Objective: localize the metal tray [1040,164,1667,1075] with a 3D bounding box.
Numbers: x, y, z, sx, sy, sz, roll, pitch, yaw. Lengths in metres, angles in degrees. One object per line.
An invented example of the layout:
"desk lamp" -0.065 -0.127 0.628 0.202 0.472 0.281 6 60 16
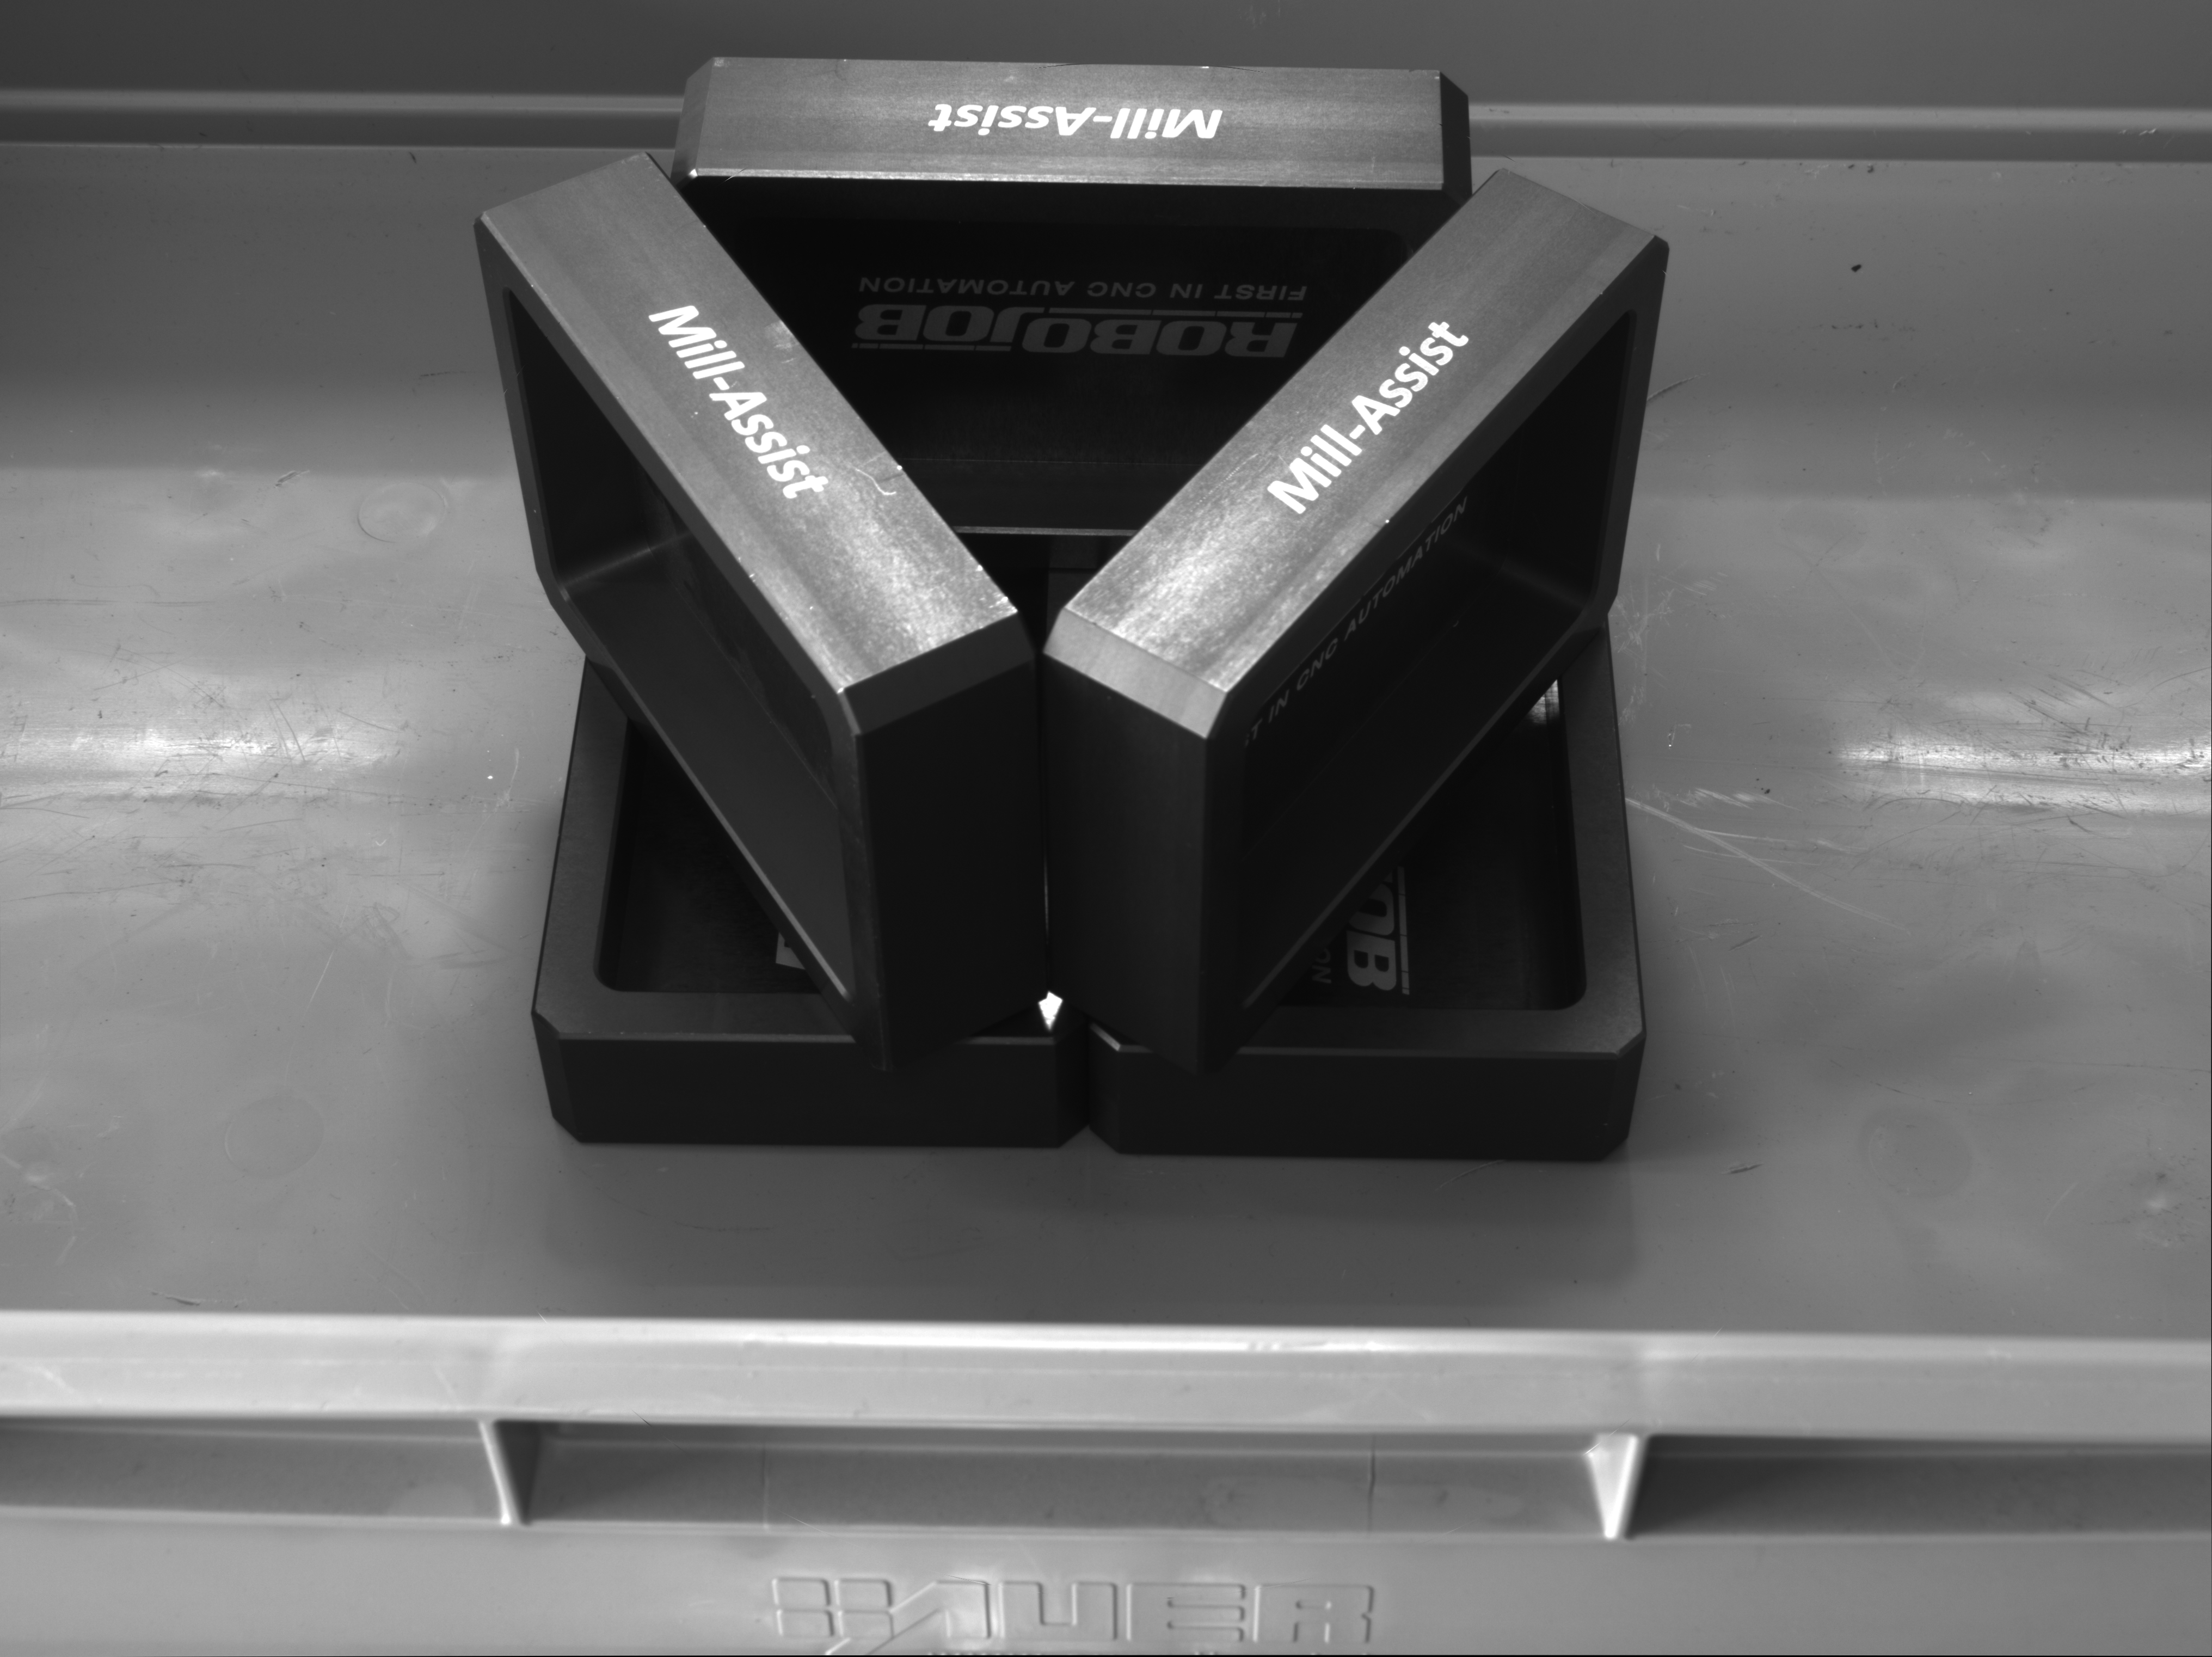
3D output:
"metal tray" 0.040 -0.034 0.586 0.030 0.090 0.130 28 56 22

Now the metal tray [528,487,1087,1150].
"metal tray" -0.047 -0.005 0.643 0.090 0.030 0.130 0 49 1

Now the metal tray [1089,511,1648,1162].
"metal tray" 0.044 -0.003 0.641 0.090 0.030 0.130 1 49 1

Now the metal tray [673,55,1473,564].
"metal tray" -0.005 -0.087 0.631 0.130 0.090 0.030 1 50 2

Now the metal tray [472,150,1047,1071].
"metal tray" -0.056 -0.036 0.588 0.030 0.090 0.130 -25 54 -19
